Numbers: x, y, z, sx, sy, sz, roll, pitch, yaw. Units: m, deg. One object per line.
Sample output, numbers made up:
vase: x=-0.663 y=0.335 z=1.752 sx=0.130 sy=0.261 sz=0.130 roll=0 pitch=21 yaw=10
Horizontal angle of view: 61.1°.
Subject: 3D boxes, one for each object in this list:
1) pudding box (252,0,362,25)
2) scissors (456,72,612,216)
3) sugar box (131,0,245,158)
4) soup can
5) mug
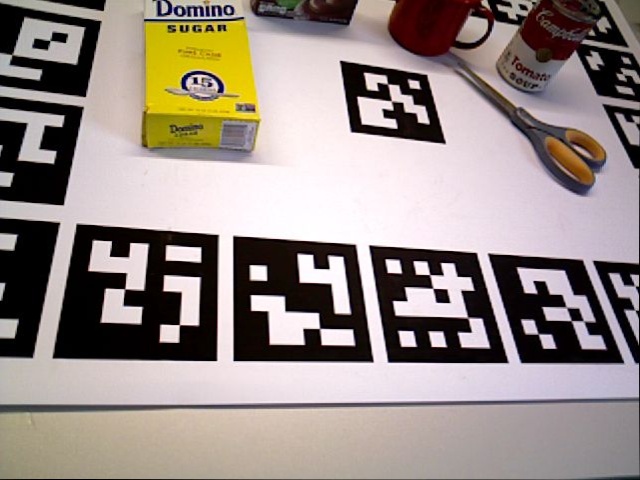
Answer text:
pudding box: x=-0.006 y=-0.271 z=0.553 sx=0.112 sy=0.092 sz=0.038 roll=-4 pitch=68 yaw=-21
scissors: x=0.224 y=-0.116 z=0.584 sx=0.086 sy=0.016 sz=0.202 roll=-41 pitch=80 yaw=-22
sugar box: x=-0.118 y=-0.156 z=0.486 sx=0.092 sy=0.046 sz=0.174 roll=0 pitch=62 yaw=-16
soup can: x=0.248 y=-0.214 z=0.607 sx=0.067 sy=0.104 sz=0.067 roll=8 pitch=57 yaw=-13
mug: x=0.134 y=-0.256 z=0.598 sx=0.091 sy=0.083 sz=0.117 roll=-33 pitch=73 yaw=-28
